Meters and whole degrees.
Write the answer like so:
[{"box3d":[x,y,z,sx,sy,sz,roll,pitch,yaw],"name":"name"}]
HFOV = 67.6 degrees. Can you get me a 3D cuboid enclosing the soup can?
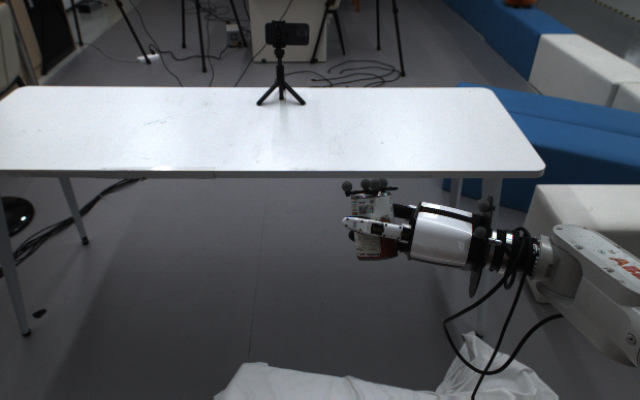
[{"box3d":[0.087,0.041,0.771,0.067,0.101,0.067,-6,3,0],"name":"soup can"}]
